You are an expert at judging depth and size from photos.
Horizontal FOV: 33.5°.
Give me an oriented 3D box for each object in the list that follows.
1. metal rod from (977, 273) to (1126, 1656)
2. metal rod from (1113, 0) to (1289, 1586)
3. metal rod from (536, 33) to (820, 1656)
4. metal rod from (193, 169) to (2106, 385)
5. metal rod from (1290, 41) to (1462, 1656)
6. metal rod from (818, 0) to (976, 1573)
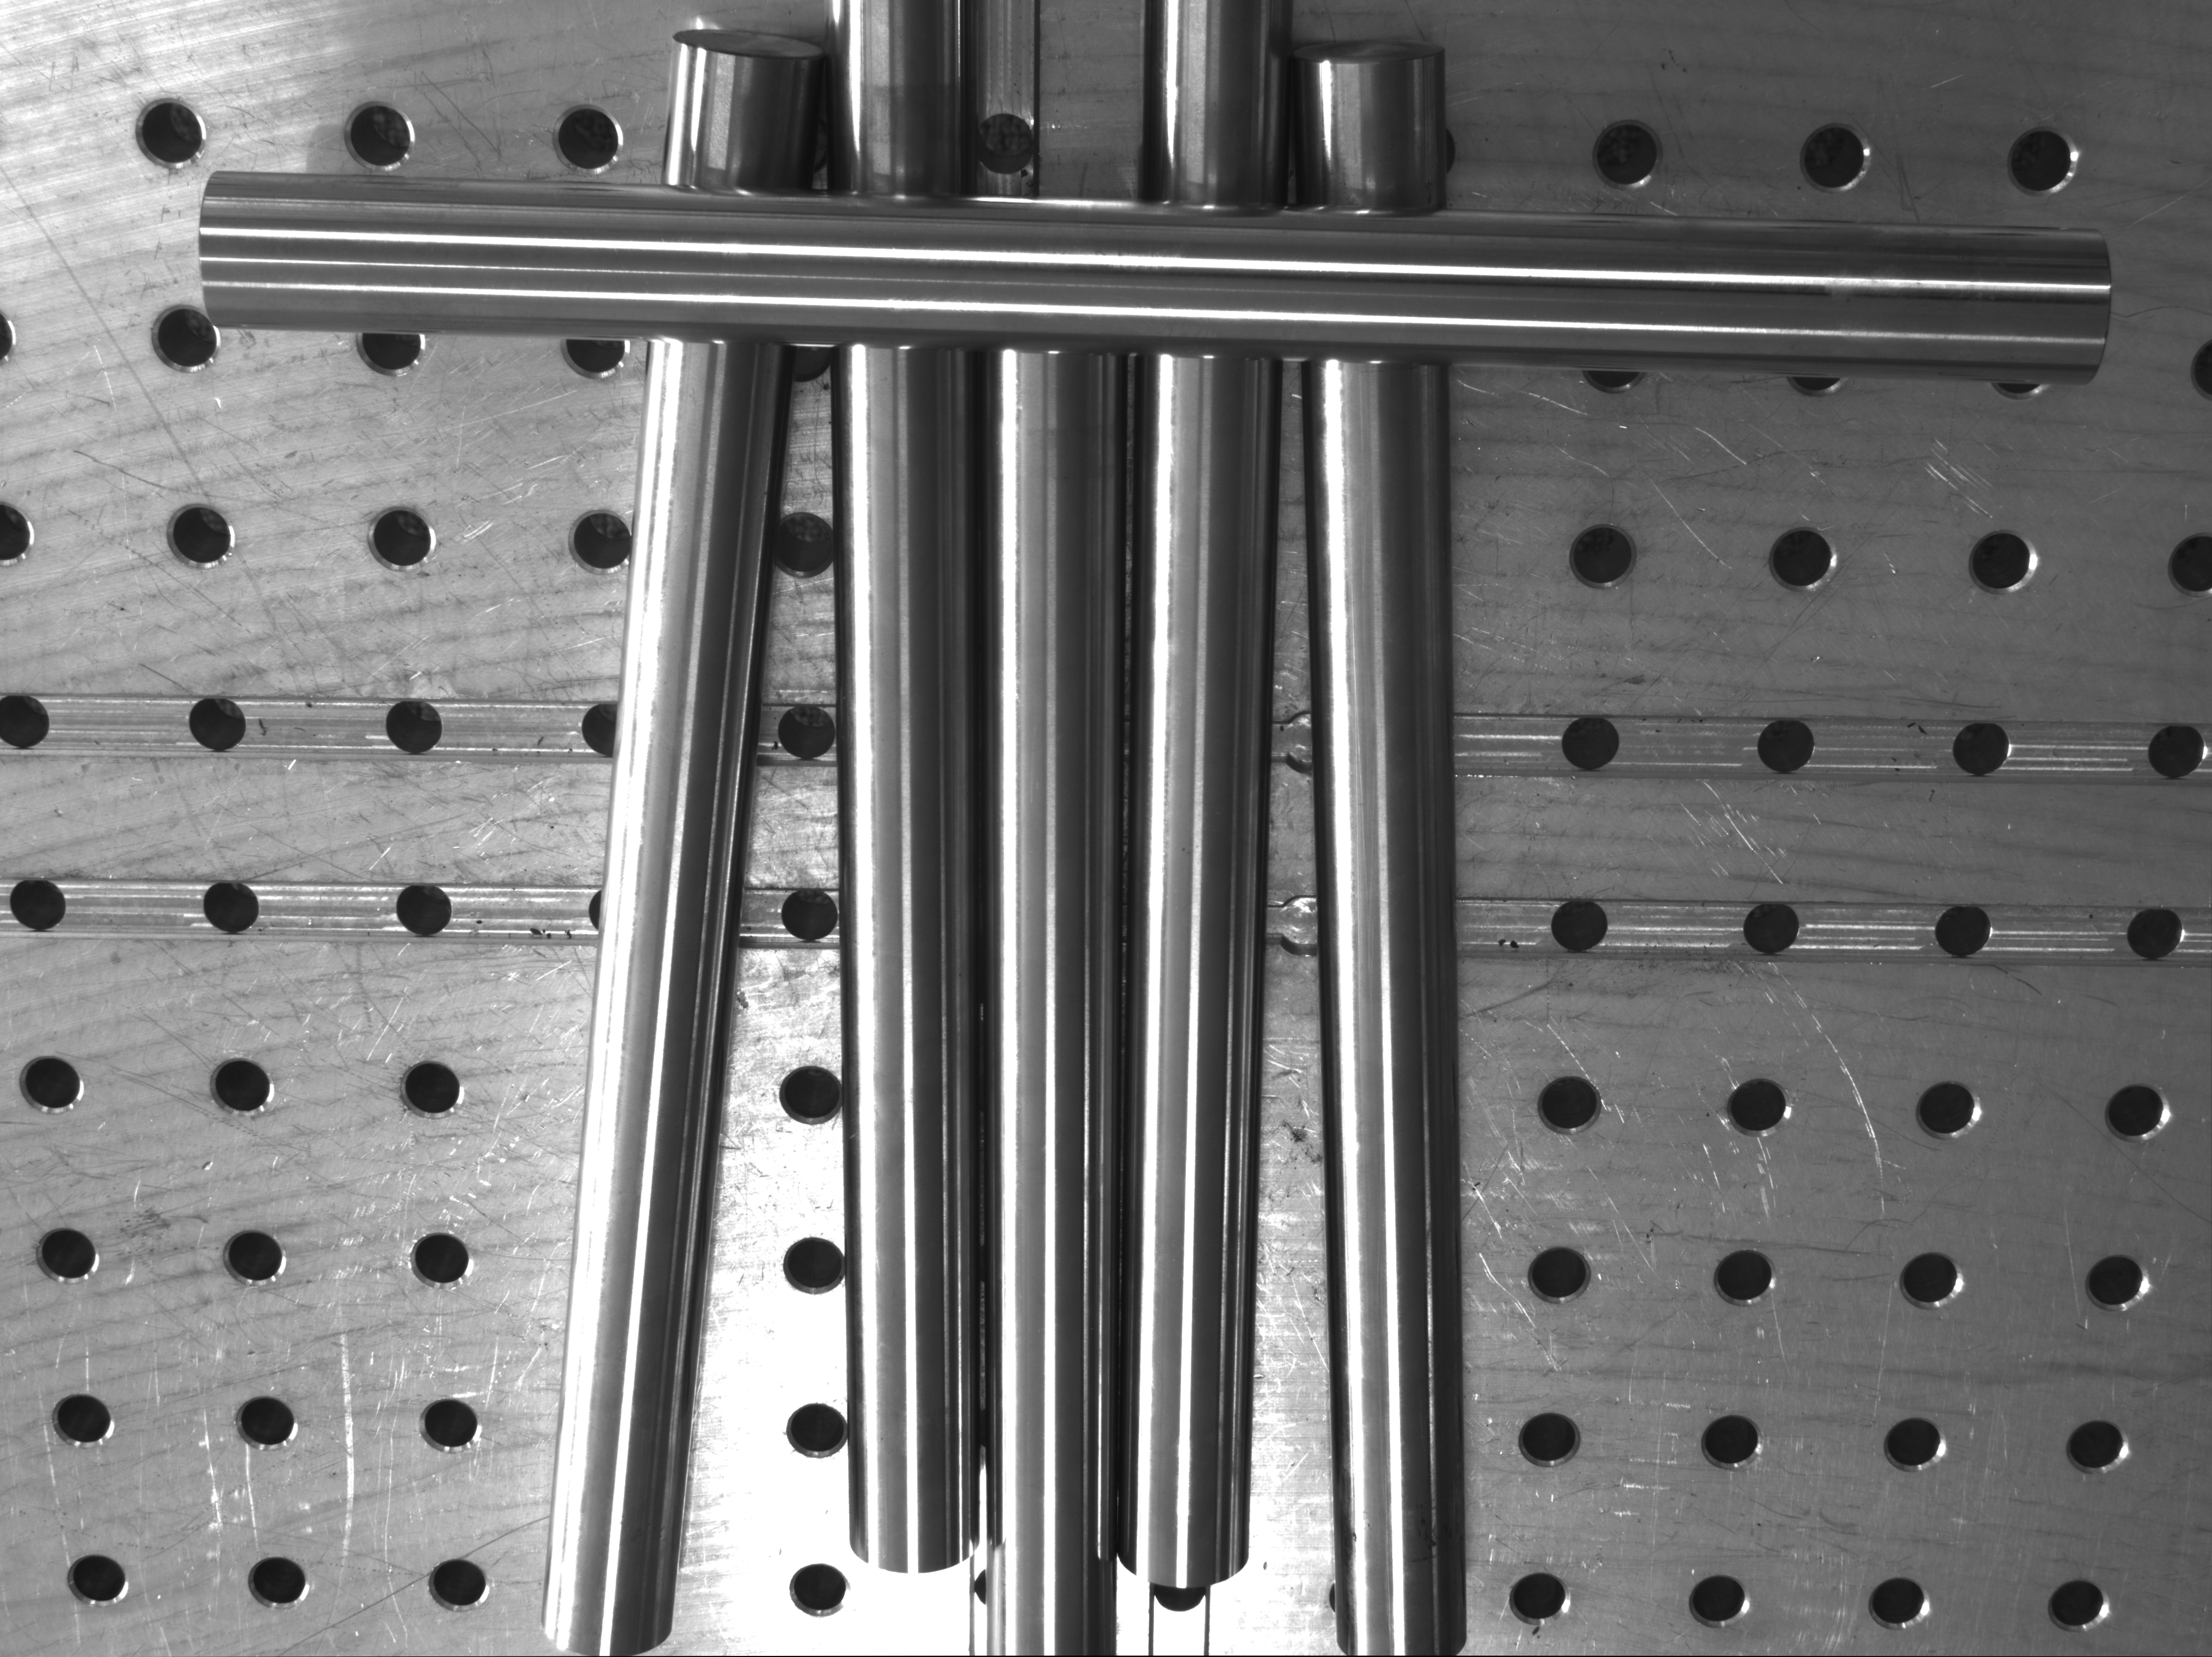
[{"bbox_3d":[-0.011,0.047,0.663,0.025,0.025,0.300,1,110,0],"label":"metal rod"},{"bbox_3d":[0.016,-0.004,0.647,0.025,0.025,0.300,1,110,0],"label":"metal rod"},{"bbox_3d":[-0.078,0.012,0.650,0.025,0.025,0.300,7,110,-2],"label":"metal rod"},{"bbox_3d":[0.007,-0.088,0.588,0.300,0.025,0.025,2,110,-1],"label":"metal rod"},{"bbox_3d":[0.049,0.013,0.652,0.025,0.025,0.300,-2,110,1],"label":"metal rod"},{"bbox_3d":[-0.036,-0.007,0.645,0.025,0.025,0.300,1,110,0],"label":"metal rod"}]
